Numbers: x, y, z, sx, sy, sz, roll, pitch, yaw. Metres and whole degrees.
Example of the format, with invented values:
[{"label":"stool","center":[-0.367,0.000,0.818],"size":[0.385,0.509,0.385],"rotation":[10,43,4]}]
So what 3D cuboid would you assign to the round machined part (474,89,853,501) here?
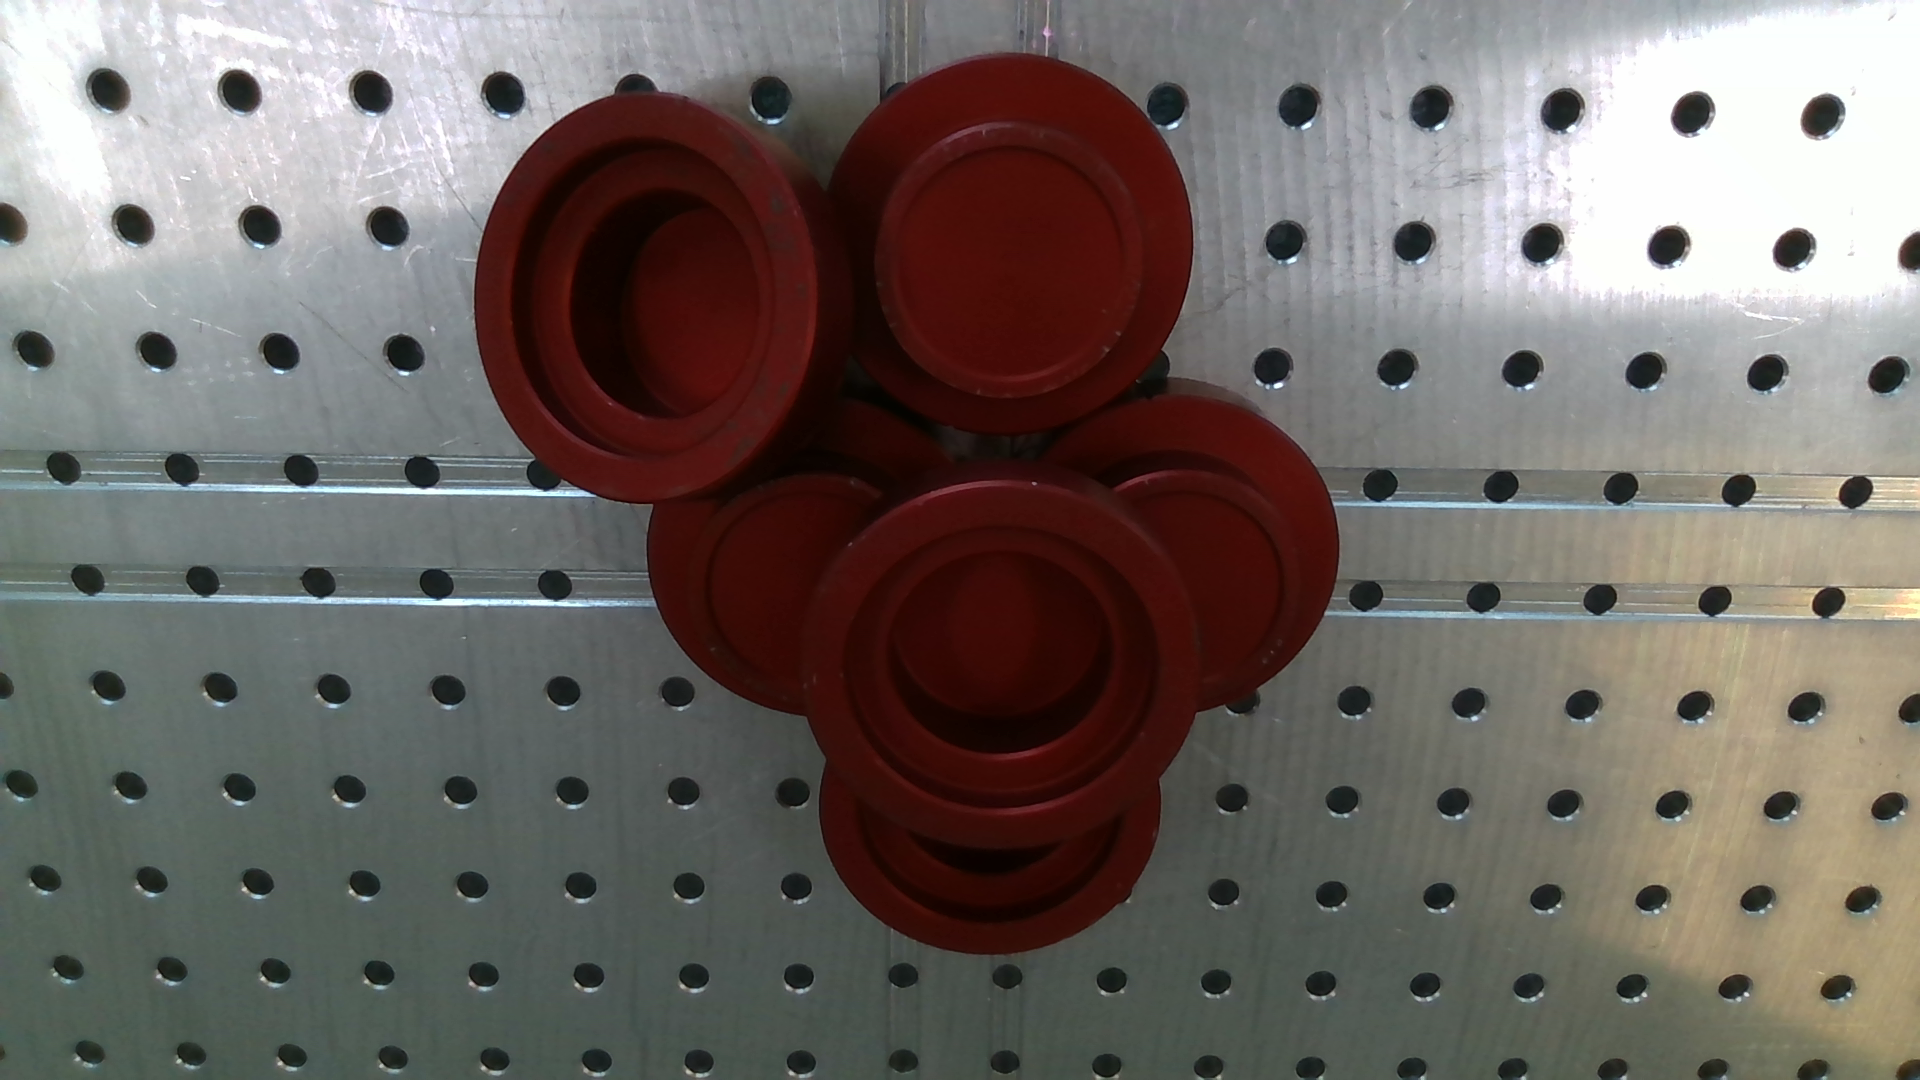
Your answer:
[{"label":"round machined part","center":[-0.071,-0.060,0.351],"size":[0.098,0.042,0.098],"rotation":[2,96,22]}]

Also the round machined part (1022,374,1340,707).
[{"label":"round machined part","center":[0.058,0.006,0.389],"size":[0.098,0.042,0.098],"rotation":[0,110,0]}]

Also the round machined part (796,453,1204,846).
[{"label":"round machined part","center":[0.010,0.025,0.350],"size":[0.098,0.042,0.098],"rotation":[0,110,0]}]

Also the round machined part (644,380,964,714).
[{"label":"round machined part","center":[-0.040,0.006,0.388],"size":[0.098,0.042,0.098],"rotation":[0,110,0]}]

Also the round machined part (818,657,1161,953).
[{"label":"round machined part","center":[0.008,0.070,0.412],"size":[0.098,0.042,0.098],"rotation":[0,110,0]}]

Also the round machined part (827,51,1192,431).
[{"label":"round machined part","center":[0.012,-0.076,0.359],"size":[0.098,0.042,0.098],"rotation":[0,110,0]}]
